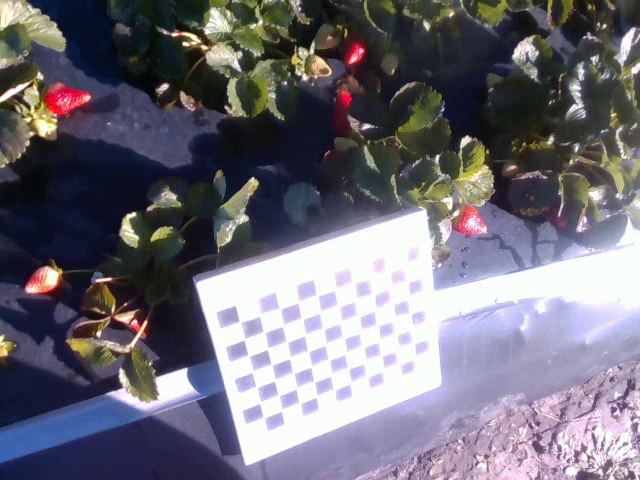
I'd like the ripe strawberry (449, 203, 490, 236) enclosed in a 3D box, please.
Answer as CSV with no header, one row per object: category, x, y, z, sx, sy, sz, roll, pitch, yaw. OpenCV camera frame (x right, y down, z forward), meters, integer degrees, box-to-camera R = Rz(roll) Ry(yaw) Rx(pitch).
ripe strawberry,0.207,-0.021,0.870,0.054,0.048,0.029,29,5,-29

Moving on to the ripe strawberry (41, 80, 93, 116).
ripe strawberry,-0.312,-0.176,0.786,0.064,0.050,0.052,-7,21,-11
